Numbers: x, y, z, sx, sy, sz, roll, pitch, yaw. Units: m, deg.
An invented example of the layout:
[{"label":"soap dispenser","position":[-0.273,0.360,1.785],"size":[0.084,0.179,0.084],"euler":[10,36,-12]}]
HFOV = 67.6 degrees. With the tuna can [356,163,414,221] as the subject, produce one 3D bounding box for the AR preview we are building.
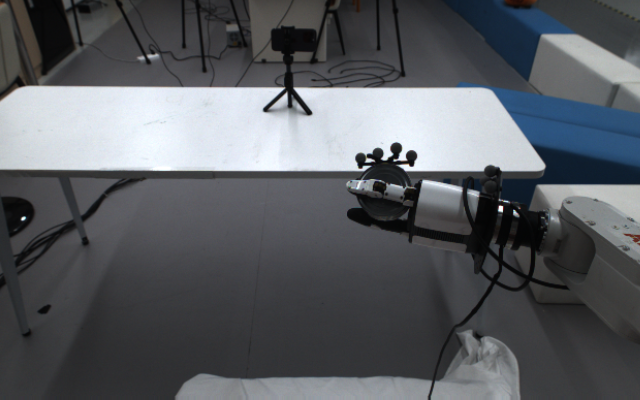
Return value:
[{"label":"tuna can","position":[0.100,-0.012,0.745],"size":[0.085,0.034,0.085],"euler":[-4,73,15]}]
